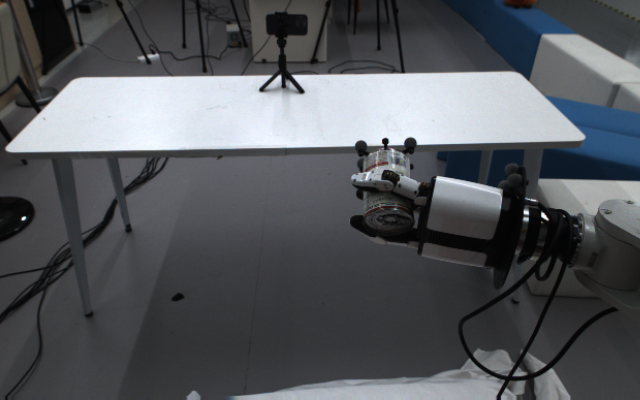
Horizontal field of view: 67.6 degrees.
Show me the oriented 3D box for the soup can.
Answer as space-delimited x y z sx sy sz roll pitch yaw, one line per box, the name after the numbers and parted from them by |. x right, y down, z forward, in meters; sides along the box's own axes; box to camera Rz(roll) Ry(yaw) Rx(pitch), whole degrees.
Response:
0.092 -0.012 0.656 0.067 0.067 0.101 3 57 1 | soup can
